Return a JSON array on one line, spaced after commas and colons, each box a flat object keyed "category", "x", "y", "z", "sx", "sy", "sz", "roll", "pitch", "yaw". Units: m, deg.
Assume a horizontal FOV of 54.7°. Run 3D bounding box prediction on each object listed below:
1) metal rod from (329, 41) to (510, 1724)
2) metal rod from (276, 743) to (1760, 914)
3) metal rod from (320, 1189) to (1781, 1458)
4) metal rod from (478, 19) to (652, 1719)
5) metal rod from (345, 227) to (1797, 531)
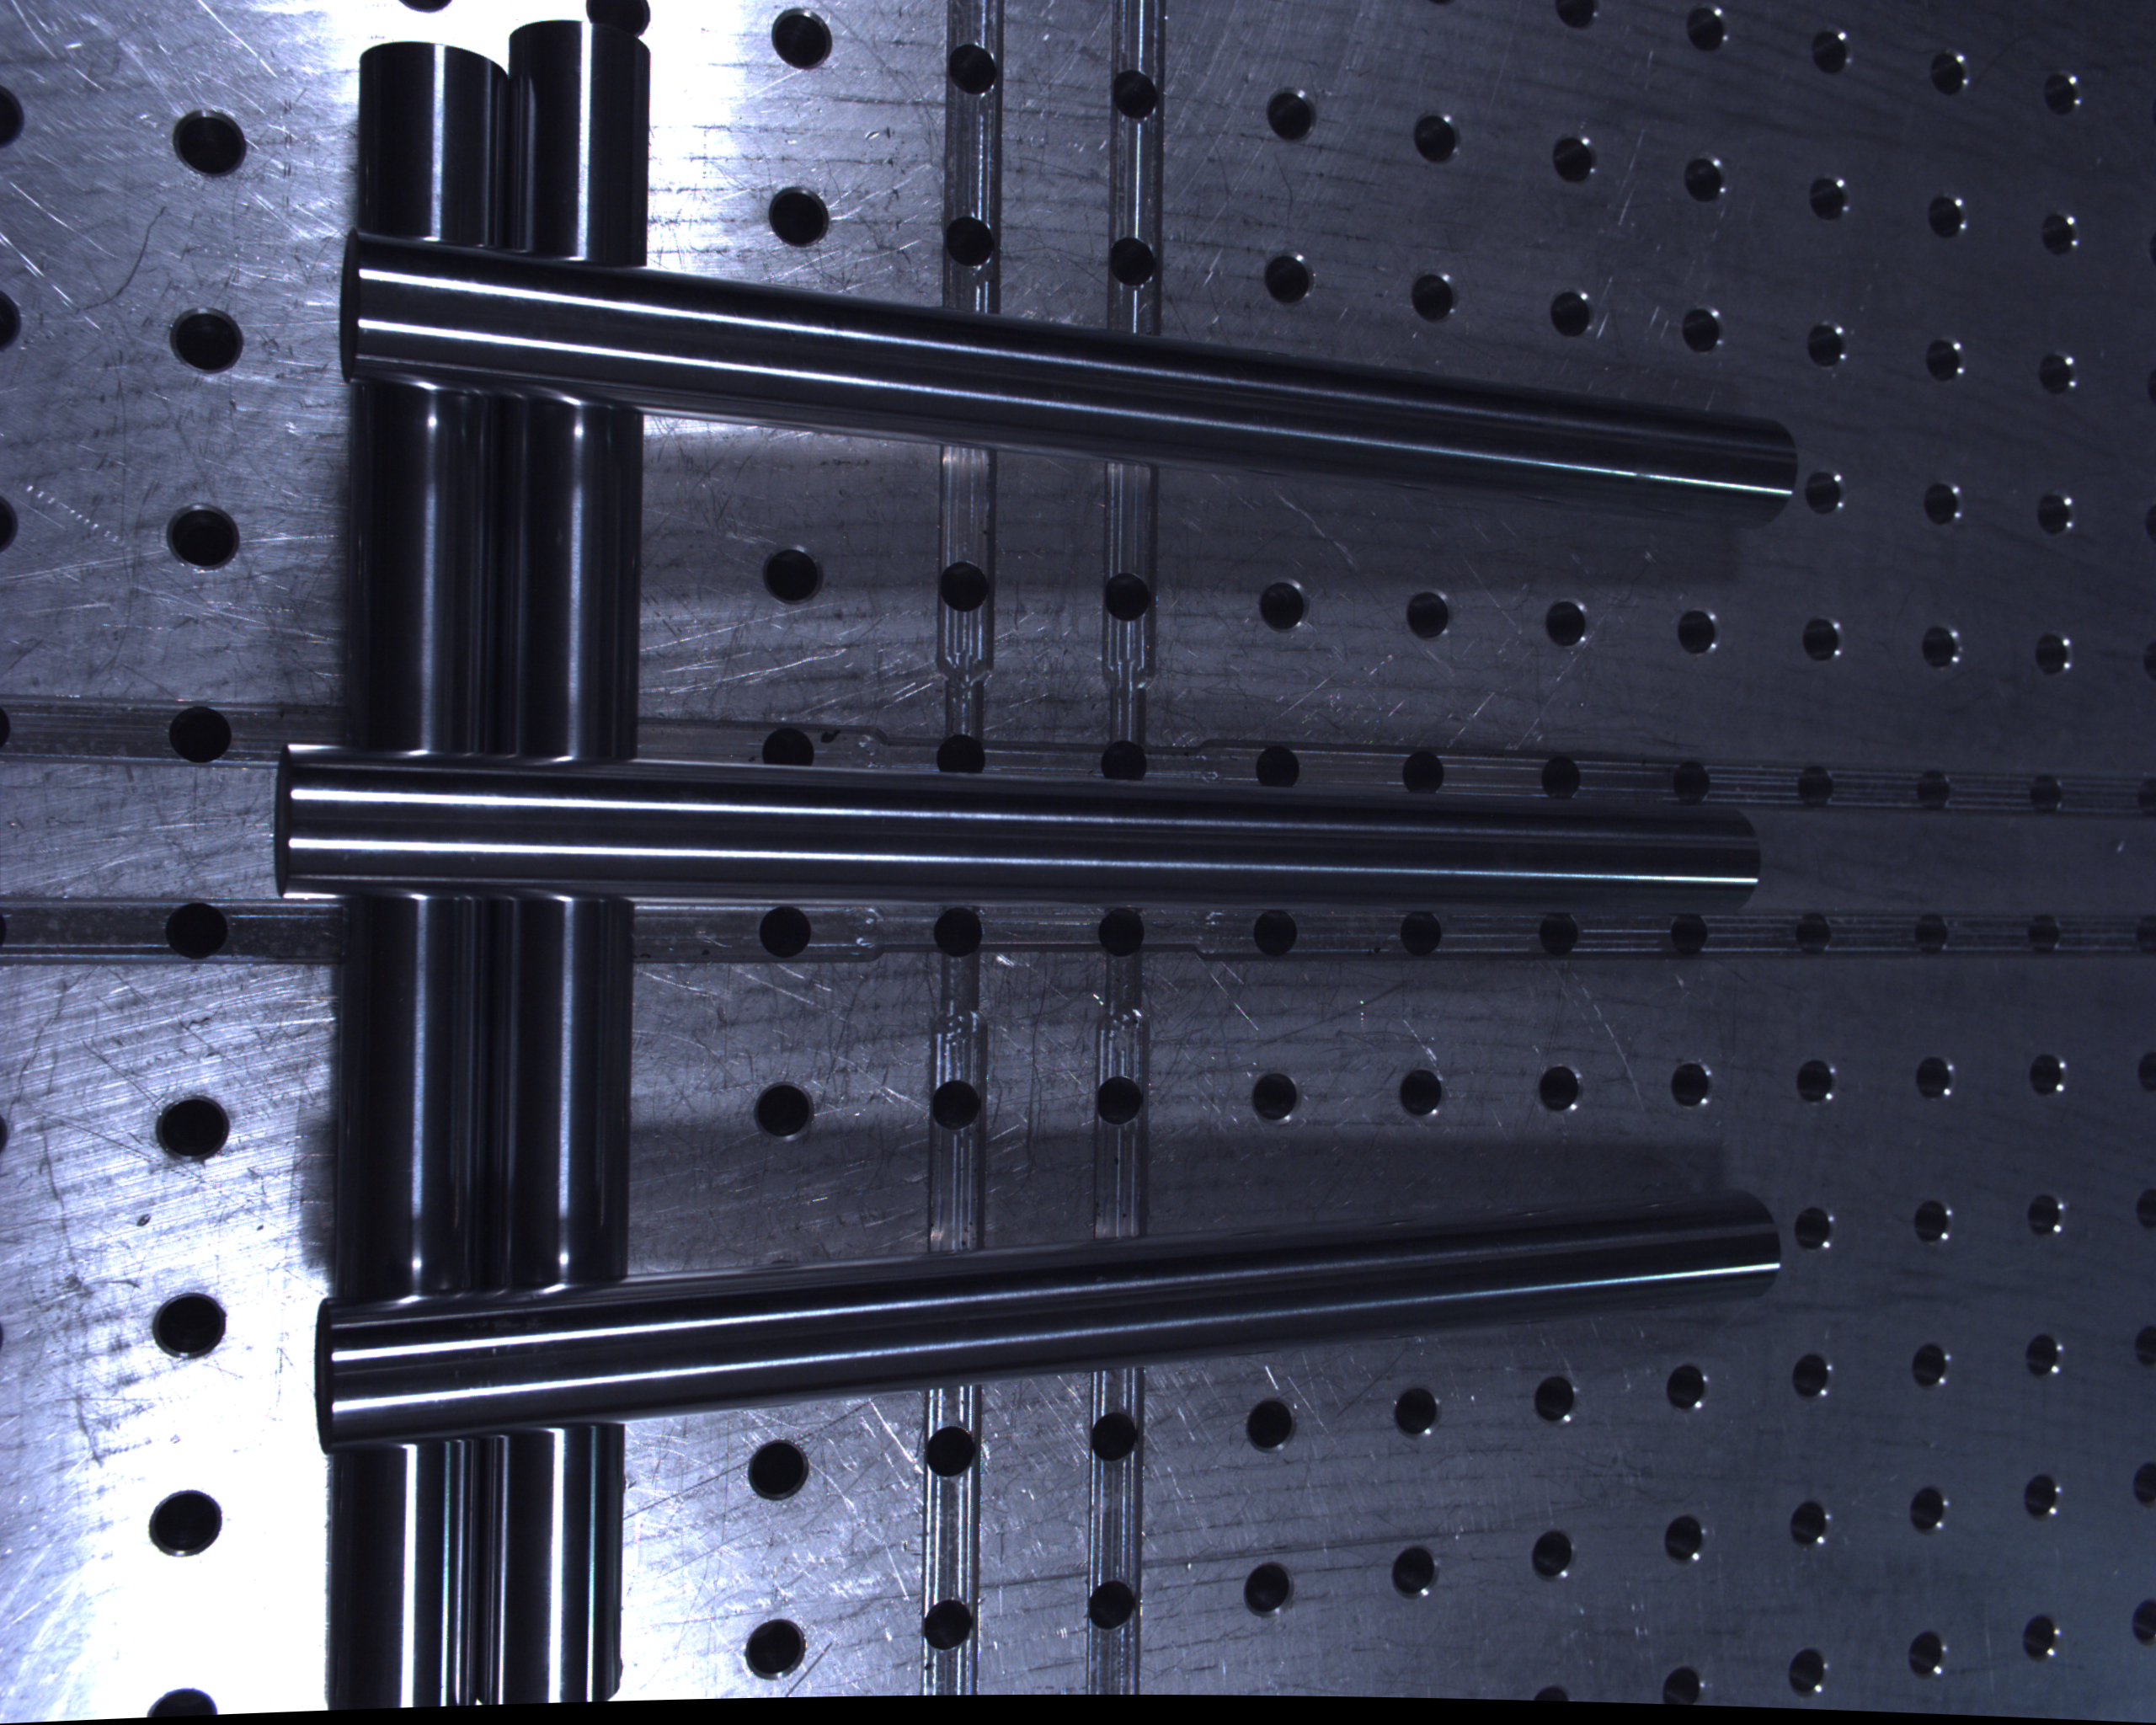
[{"category": "metal rod", "x": -0.117, "y": 0.008, "z": 0.369, "sx": 0.025, "sy": 0.025, "sz": 0.298, "roll": 1, "pitch": 90, "yaw": -20}, {"category": "metal rod", "x": 0.009, "y": -0.004, "z": 0.401, "sx": 0.303, "sy": 0.025, "sz": 0.025, "roll": 1, "pitch": 90, "yaw": -26}, {"category": "metal rod", "x": 0.014, "y": 0.085, "z": 0.404, "sx": 0.303, "sy": 0.025, "sz": 0.025, "roll": 1, "pitch": 90, "yaw": -26}, {"category": "metal rod", "x": -0.093, "y": 0.001, "z": 0.378, "sx": 0.025, "sy": 0.025, "sz": 0.298, "roll": 1, "pitch": 90, "yaw": -20}, {"category": "metal rod", "x": 0.018, "y": -0.089, "z": 0.405, "sx": 0.303, "sy": 0.025, "sz": 0.025, "roll": 1, "pitch": 90, "yaw": -26}]
